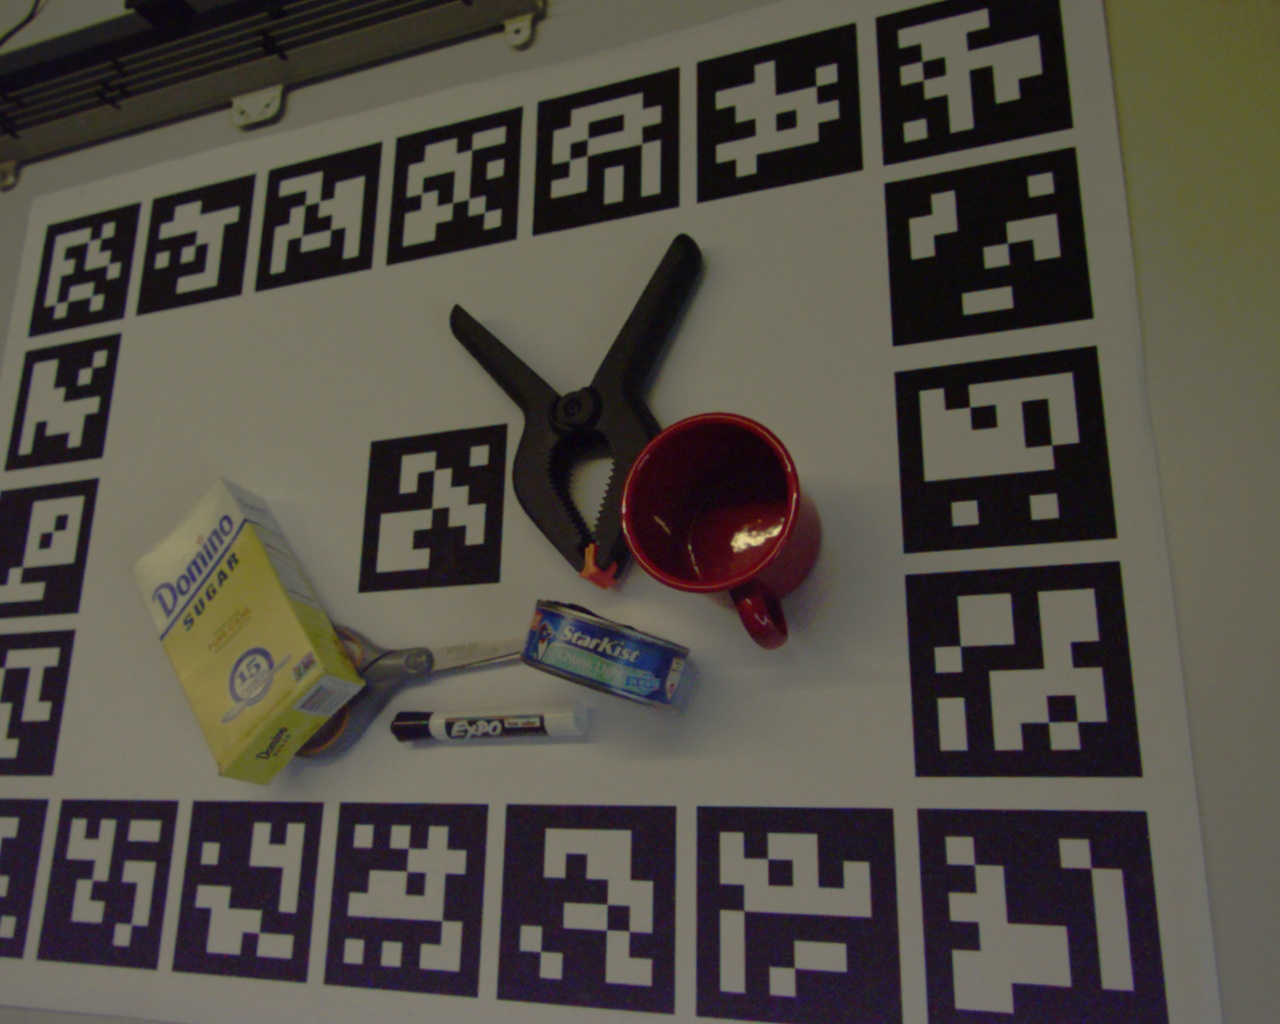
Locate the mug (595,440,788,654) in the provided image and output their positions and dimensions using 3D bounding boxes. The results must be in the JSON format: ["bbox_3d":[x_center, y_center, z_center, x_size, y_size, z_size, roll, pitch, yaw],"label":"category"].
[{"bbox_3d":[0.038,0.027,0.628,0.093,0.080,0.118,-33,63,11],"label":"mug"}]

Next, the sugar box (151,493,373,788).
[{"bbox_3d":[-0.252,0.081,0.747,0.093,0.045,0.178,-42,59,7],"label":"sugar box"}]

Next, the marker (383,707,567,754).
[{"bbox_3d":[-0.102,0.133,0.690,0.122,0.019,0.020,-9,74,21],"label":"marker"}]

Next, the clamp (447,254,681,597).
[{"bbox_3d":[-0.036,-0.046,0.712,0.166,0.036,0.203,-16,71,18],"label":"clamp"}]

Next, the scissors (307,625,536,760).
[{"bbox_3d":[-0.146,0.097,0.716,0.204,0.015,0.088,-16,67,17],"label":"scissors"}]

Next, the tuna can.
[{"bbox_3d":[-0.019,0.082,0.632,0.087,0.085,0.034,12,81,25],"label":"tuna can"}]
